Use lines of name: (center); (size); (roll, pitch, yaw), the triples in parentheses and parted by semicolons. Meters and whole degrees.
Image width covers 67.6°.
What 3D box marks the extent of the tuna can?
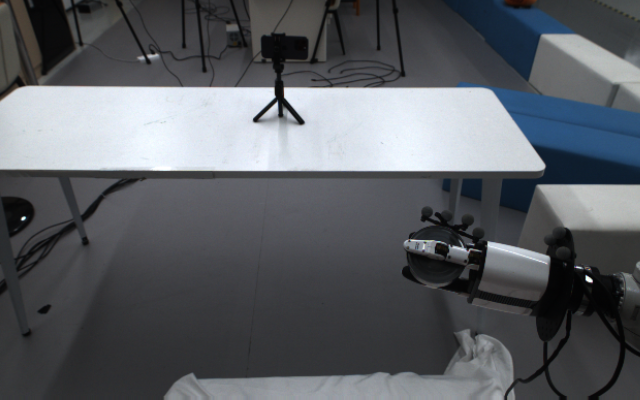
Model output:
tuna can: (0.170, 0.078, 0.702); (0.085, 0.034, 0.085); (-4, 66, 10)
